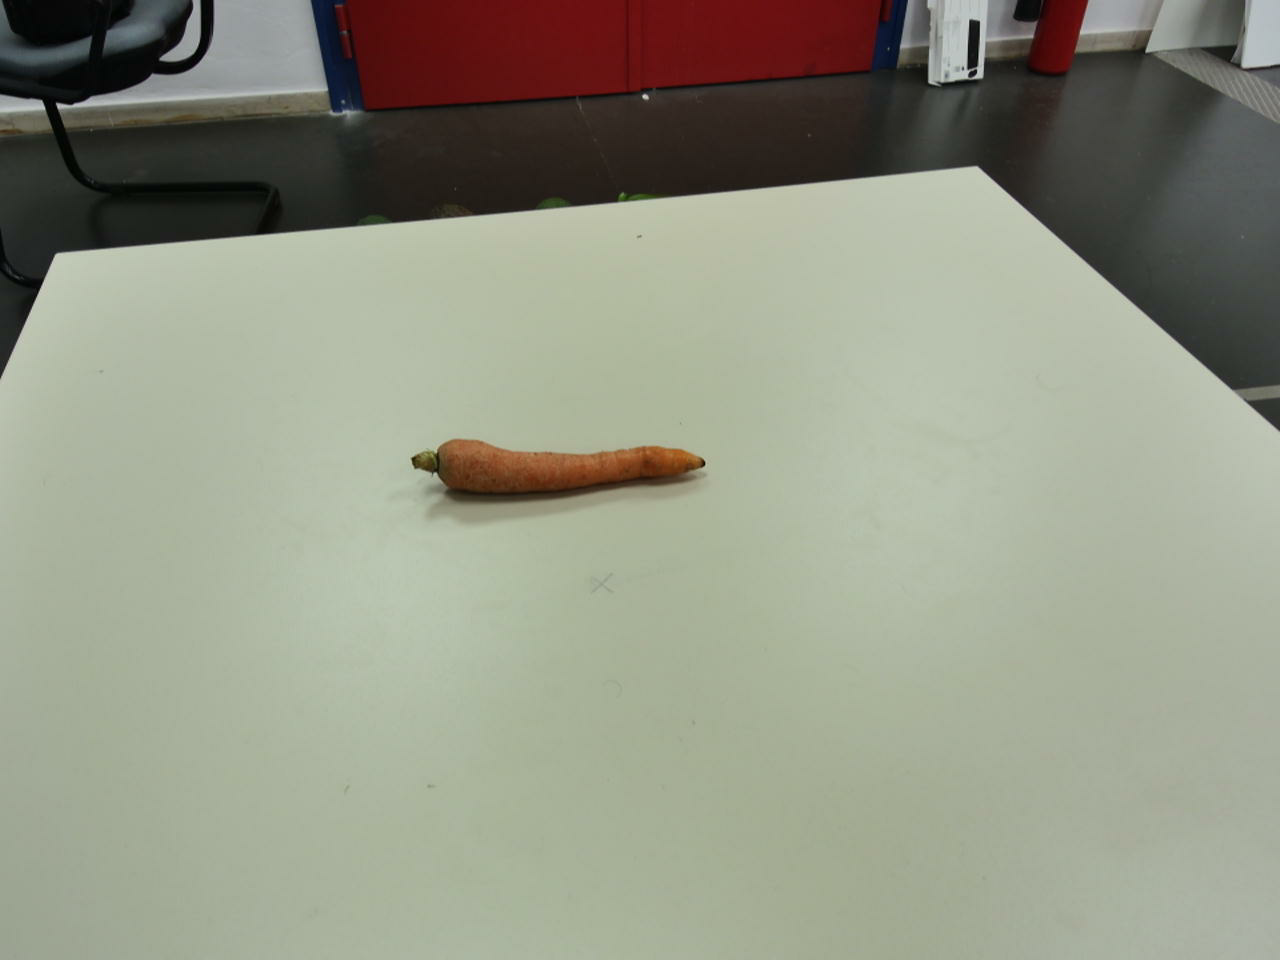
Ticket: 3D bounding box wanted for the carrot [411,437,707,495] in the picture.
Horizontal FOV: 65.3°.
[{"bbox_3d":[-0.044,-0.010,0.580,0.173,0.032,0.030,-2,39,-2],"label":"carrot"}]
